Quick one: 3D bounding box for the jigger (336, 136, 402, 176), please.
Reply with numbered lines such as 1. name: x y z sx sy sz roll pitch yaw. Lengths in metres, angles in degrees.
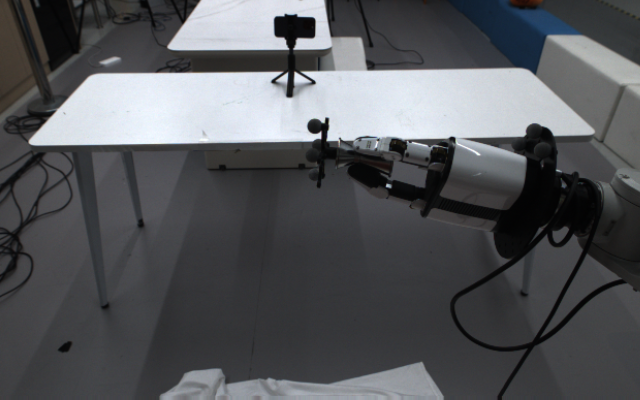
1. jigger: 0.062 -0.057 0.593 0.071 0.043 0.043 5 35 3
